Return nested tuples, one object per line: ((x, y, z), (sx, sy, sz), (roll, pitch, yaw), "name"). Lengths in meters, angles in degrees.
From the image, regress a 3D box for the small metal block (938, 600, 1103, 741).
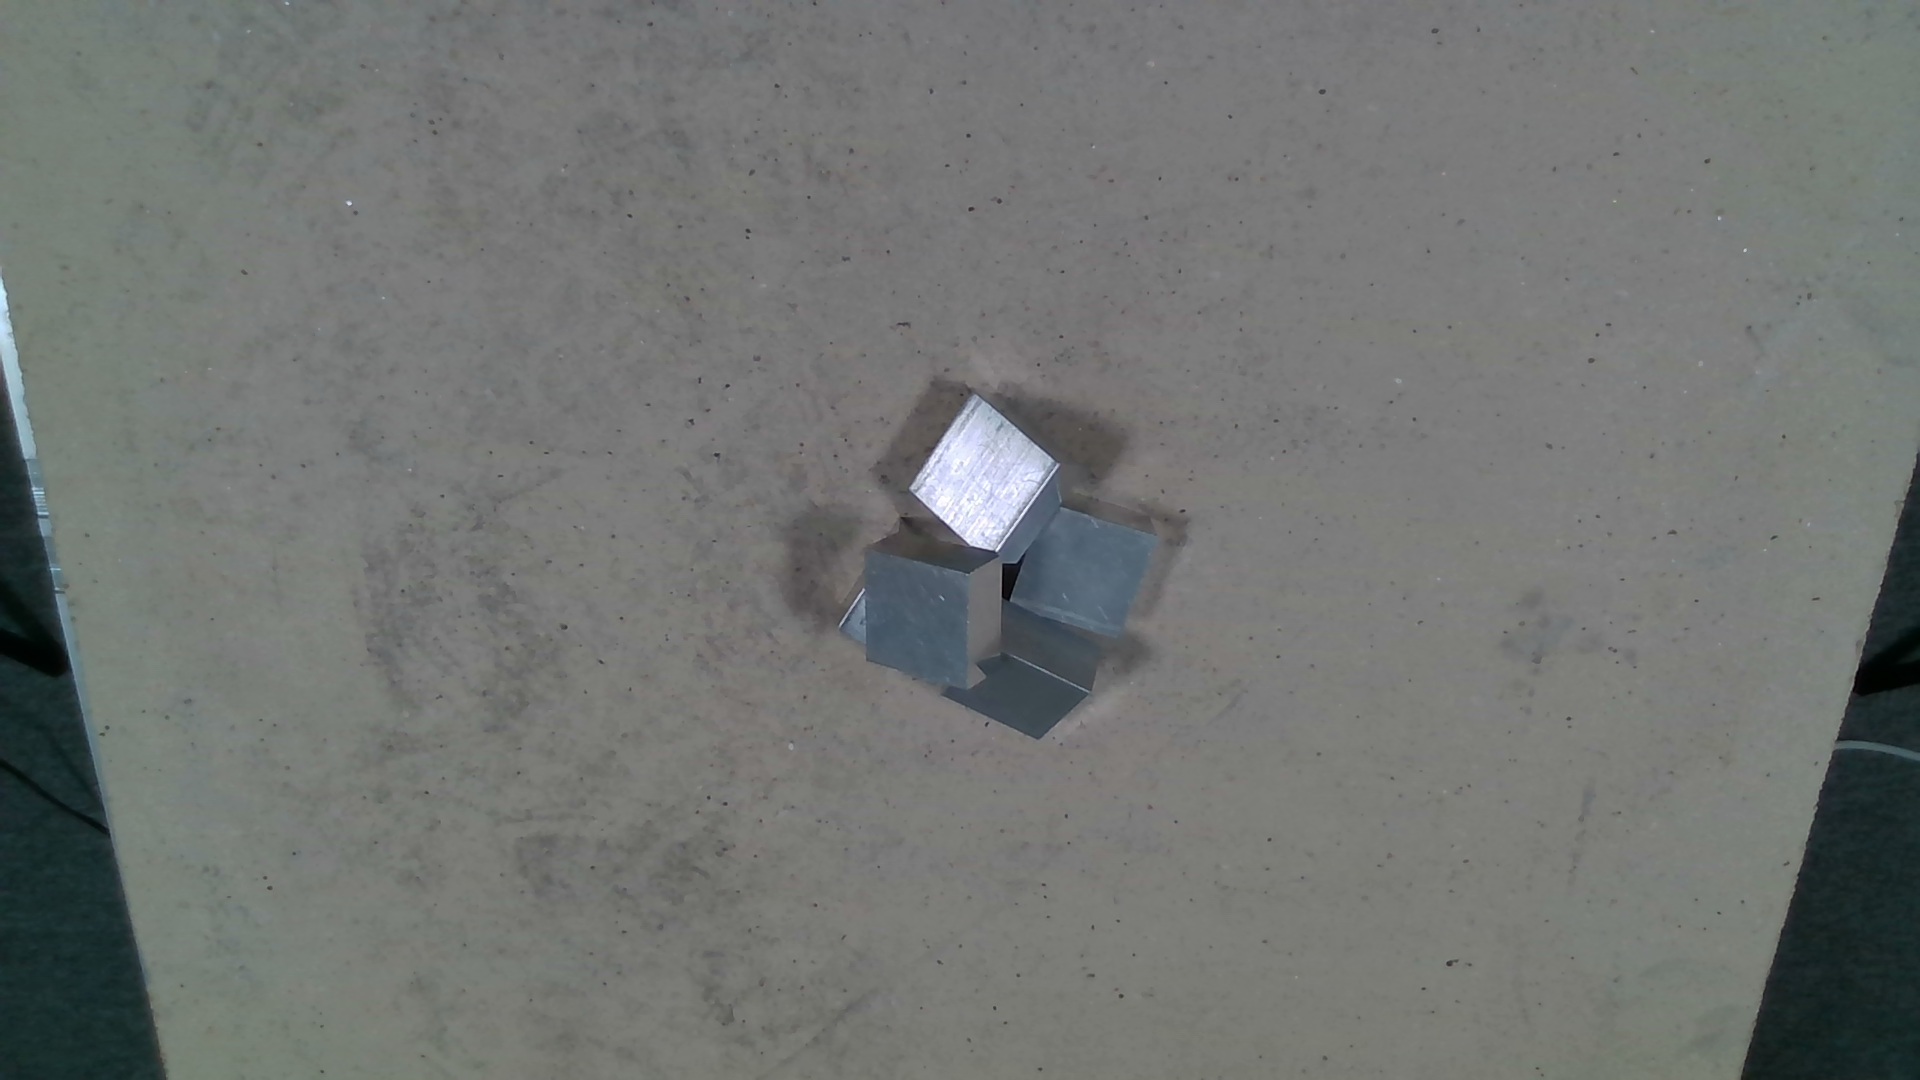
((0.026, 0.056, 0.594), (0.050, 0.025, 0.050), (26, 141, -9), "small metal block")

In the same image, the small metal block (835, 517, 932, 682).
((-0.019, 0.026, 0.595), (0.050, 0.025, 0.050), (31, 107, -11), "small metal block")

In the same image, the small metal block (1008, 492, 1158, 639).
((0.051, 0.009, 0.588), (0.050, 0.025, 0.050), (16, 109, -6), "small metal block")

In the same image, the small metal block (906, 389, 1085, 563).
((0.015, -0.026, 0.563), (0.050, 0.025, 0.050), (43, 109, 23), "small metal block")

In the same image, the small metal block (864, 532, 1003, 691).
((-0.011, 0.028, 0.556), (0.050, 0.025, 0.050), (13, 114, 30), "small metal block")
